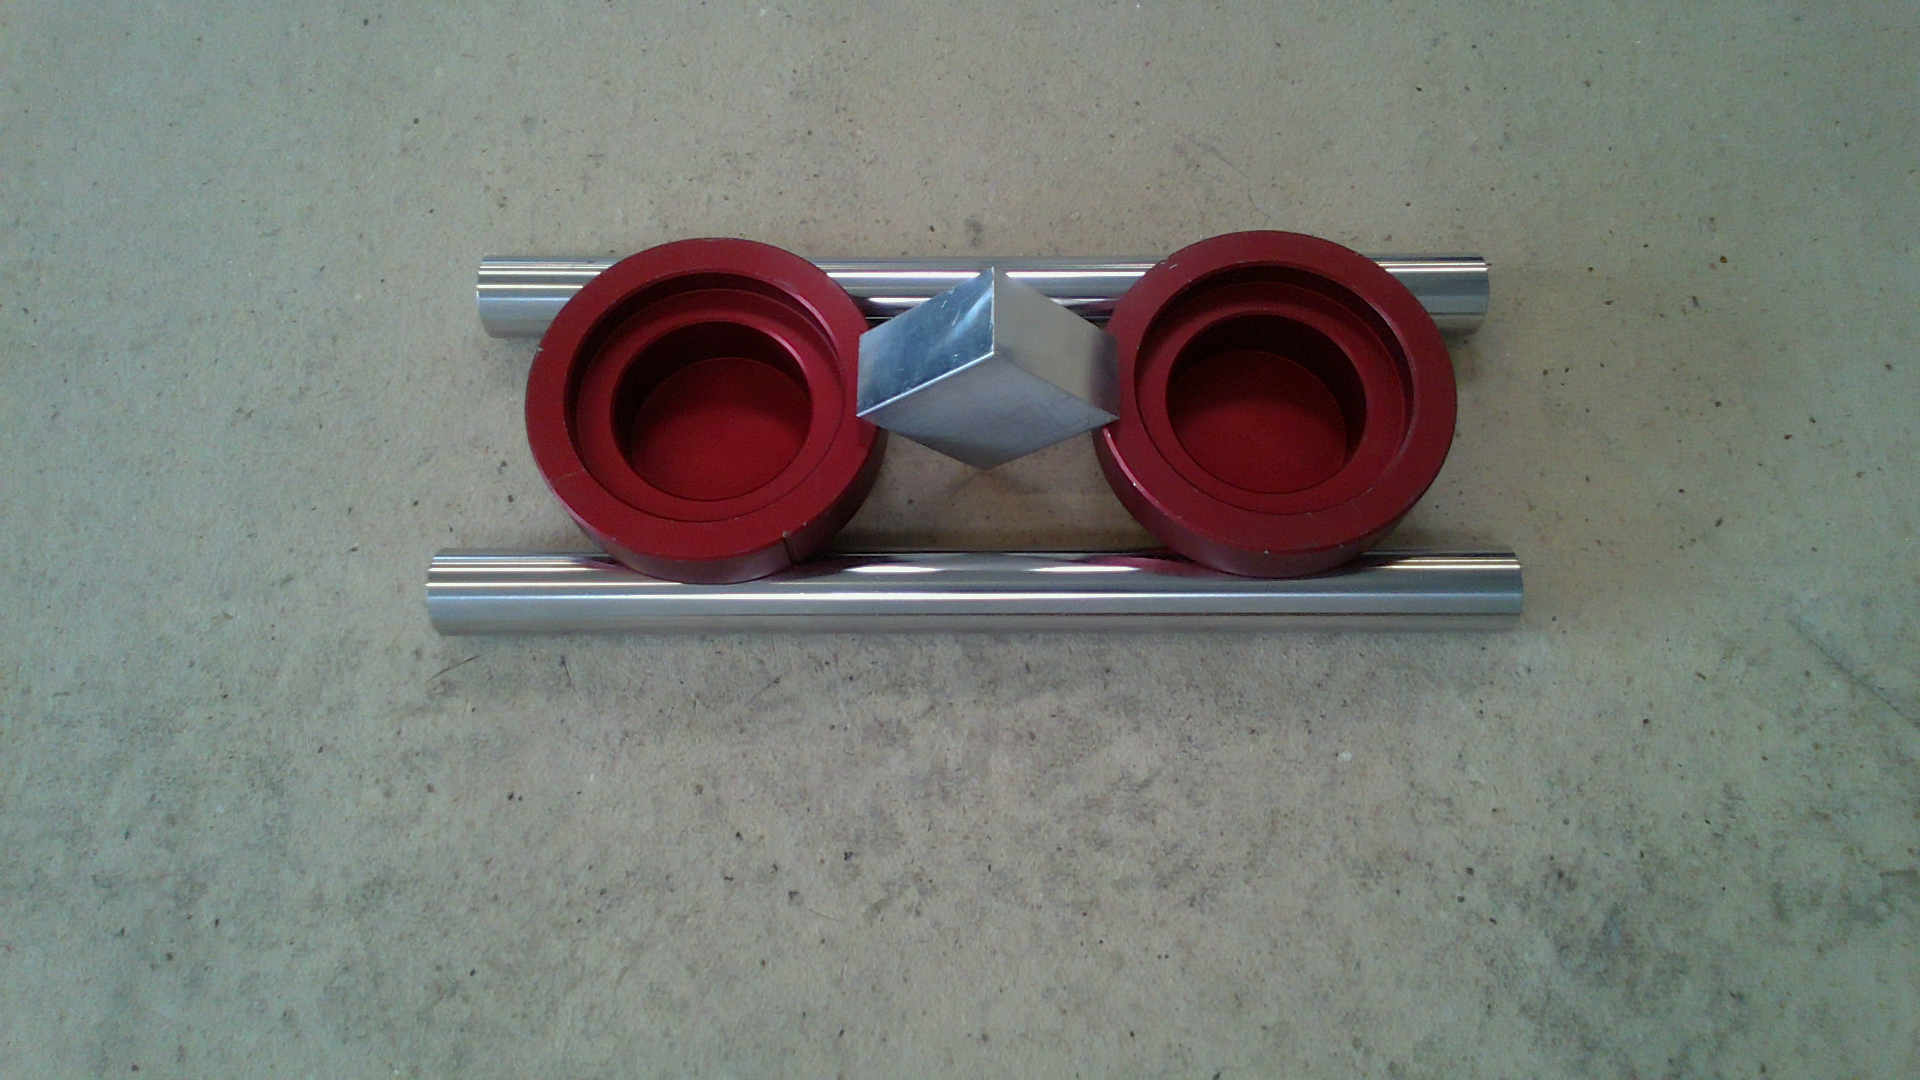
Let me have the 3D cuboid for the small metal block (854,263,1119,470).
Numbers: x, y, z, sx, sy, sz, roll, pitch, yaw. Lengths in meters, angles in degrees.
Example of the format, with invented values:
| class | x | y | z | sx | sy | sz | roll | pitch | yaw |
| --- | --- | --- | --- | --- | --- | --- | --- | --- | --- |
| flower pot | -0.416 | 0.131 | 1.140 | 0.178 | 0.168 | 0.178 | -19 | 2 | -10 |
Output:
| class | x | y | z | sx | sy | sz | roll | pitch | yaw |
| --- | --- | --- | --- | --- | --- | --- | --- | --- | --- |
| small metal block | 0.007 | -0.044 | 0.370 | 0.050 | 0.050 | 0.025 | -19 | 62 | 40 |

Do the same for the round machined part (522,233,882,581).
| class | x | y | z | sx | sy | sz | roll | pitch | yaw |
| --- | --- | --- | --- | --- | --- | --- | --- | --- | --- |
| round machined part | -0.070 | -0.034 | 0.393 | 0.098 | 0.042 | 0.098 | 0 | 70 | 0 |

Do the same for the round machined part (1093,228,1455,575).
| class | x | y | z | sx | sy | sz | roll | pitch | yaw |
| --- | --- | --- | --- | --- | --- | --- | --- | --- | --- |
| round machined part | 0.086 | -0.036 | 0.394 | 0.098 | 0.042 | 0.098 | 0 | 70 | 0 |

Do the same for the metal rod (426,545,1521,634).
| class | x | y | z | sx | sy | sz | roll | pitch | yaw |
| --- | --- | --- | --- | --- | --- | --- | --- | --- | --- |
| metal rod | 0.004 | 0.014 | 0.389 | 0.300 | 0.025 | 0.025 | 0 | 70 | 0 |

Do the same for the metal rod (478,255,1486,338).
| class | x | y | z | sx | sy | sz | roll | pitch | yaw |
| --- | --- | --- | --- | --- | --- | --- | --- | --- | --- |
| metal rod | 0.007 | -0.075 | 0.422 | 0.300 | 0.025 | 0.025 | 0 | 70 | 0 |
